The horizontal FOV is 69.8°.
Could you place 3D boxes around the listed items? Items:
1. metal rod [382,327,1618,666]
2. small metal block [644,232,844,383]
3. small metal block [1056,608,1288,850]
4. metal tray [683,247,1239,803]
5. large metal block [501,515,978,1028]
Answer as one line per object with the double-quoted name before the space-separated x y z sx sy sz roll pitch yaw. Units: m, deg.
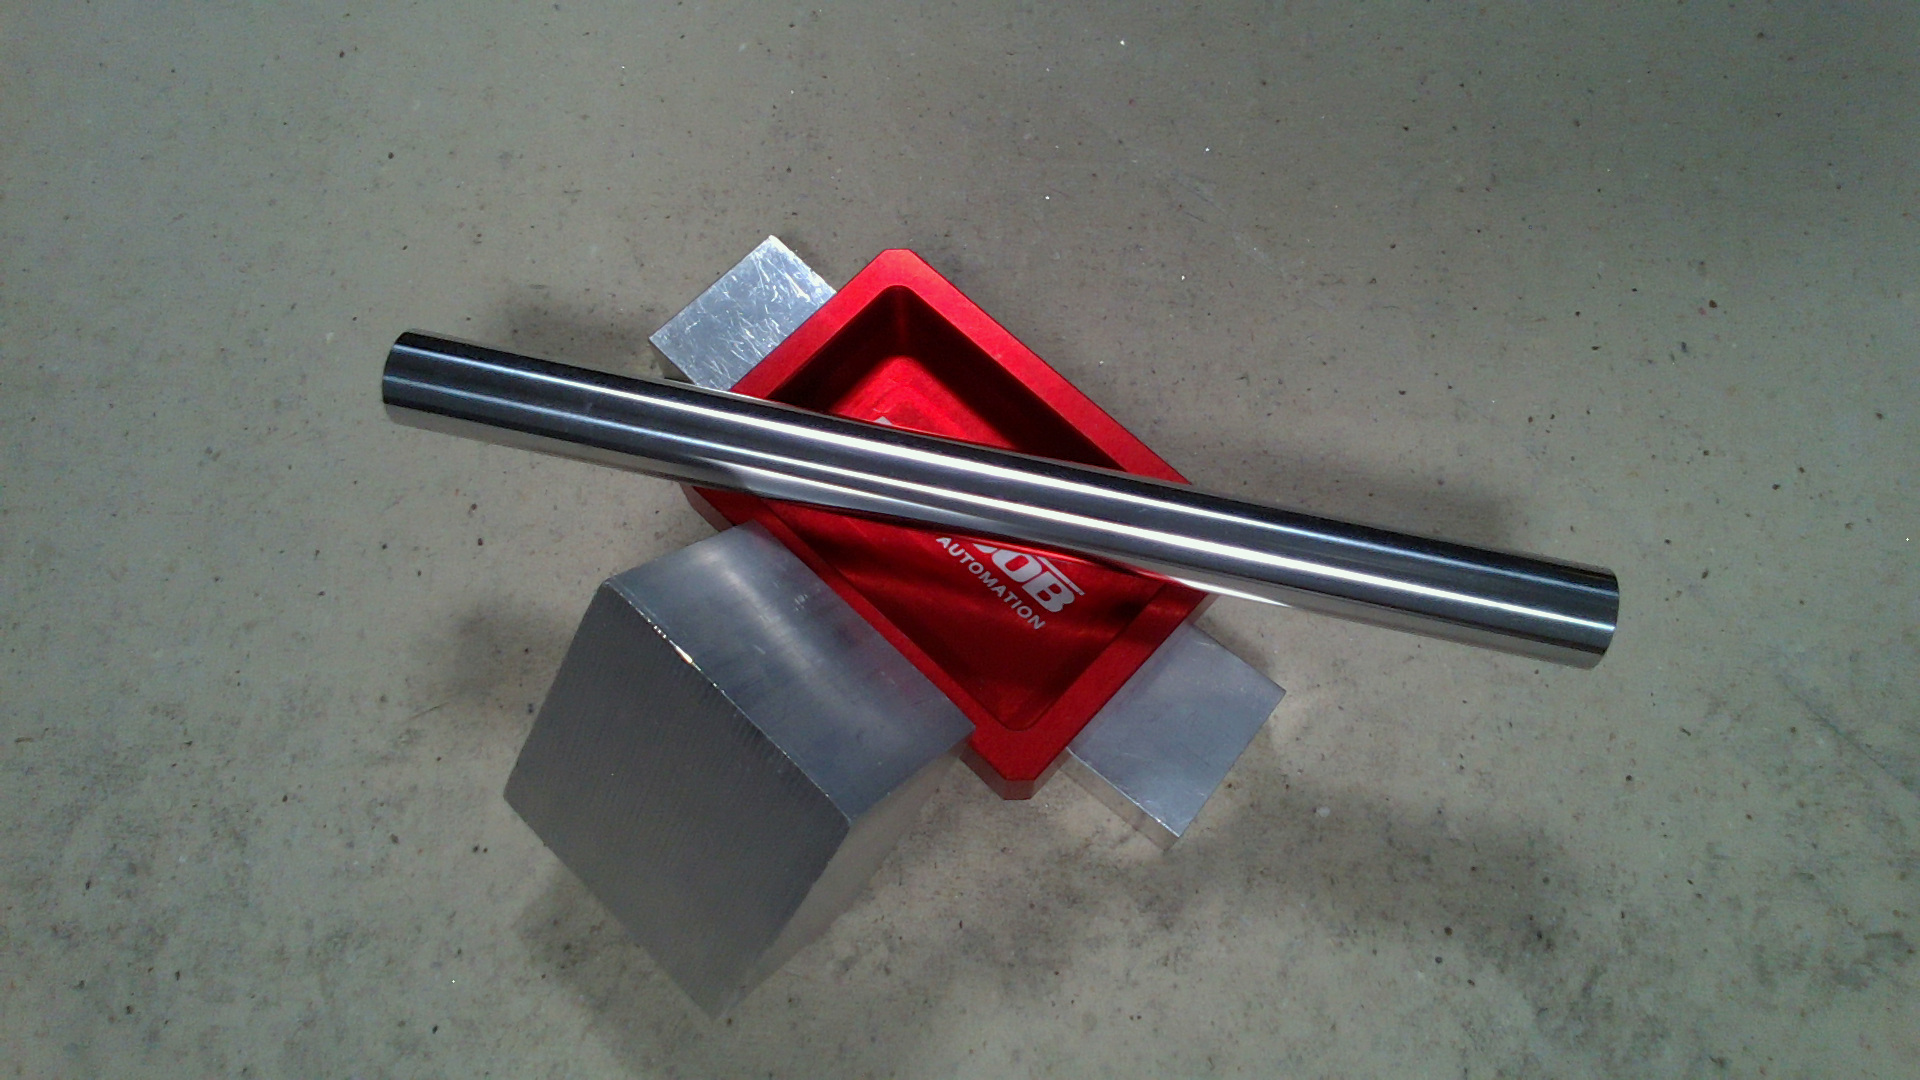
"metal rod" 0.006 -0.012 0.340 0.300 0.025 0.025 12 70 4
"small metal block" -0.057 -0.055 0.415 0.050 0.025 0.050 43 75 14
"small metal block" 0.053 0.048 0.377 0.050 0.025 0.050 37 74 12
"metal tray" -0.001 -0.007 0.367 0.130 0.030 0.090 42 75 14
"large metal block" -0.056 0.055 0.336 0.080 0.080 0.050 41 34 14
